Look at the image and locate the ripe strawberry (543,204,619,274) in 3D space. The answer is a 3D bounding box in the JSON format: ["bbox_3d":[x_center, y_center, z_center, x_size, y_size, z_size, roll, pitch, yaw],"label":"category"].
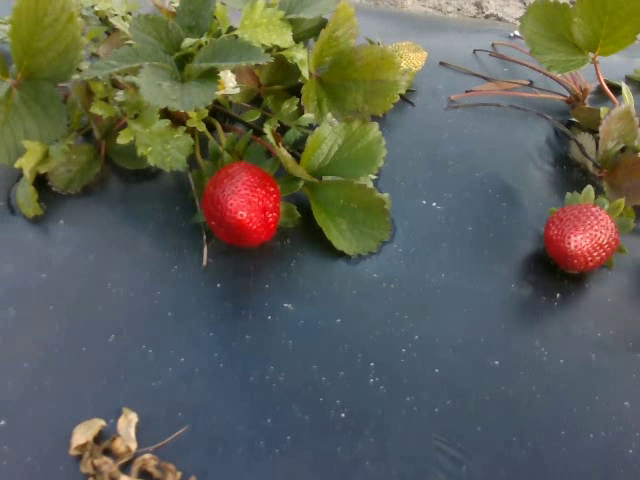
[{"bbox_3d":[0.118,0.003,0.260,0.041,0.045,0.052,-30,-5,36],"label":"ripe strawberry"}]

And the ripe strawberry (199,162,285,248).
[{"bbox_3d":[-0.038,-0.013,0.247,0.050,0.046,0.050,41,7,0],"label":"ripe strawberry"}]
